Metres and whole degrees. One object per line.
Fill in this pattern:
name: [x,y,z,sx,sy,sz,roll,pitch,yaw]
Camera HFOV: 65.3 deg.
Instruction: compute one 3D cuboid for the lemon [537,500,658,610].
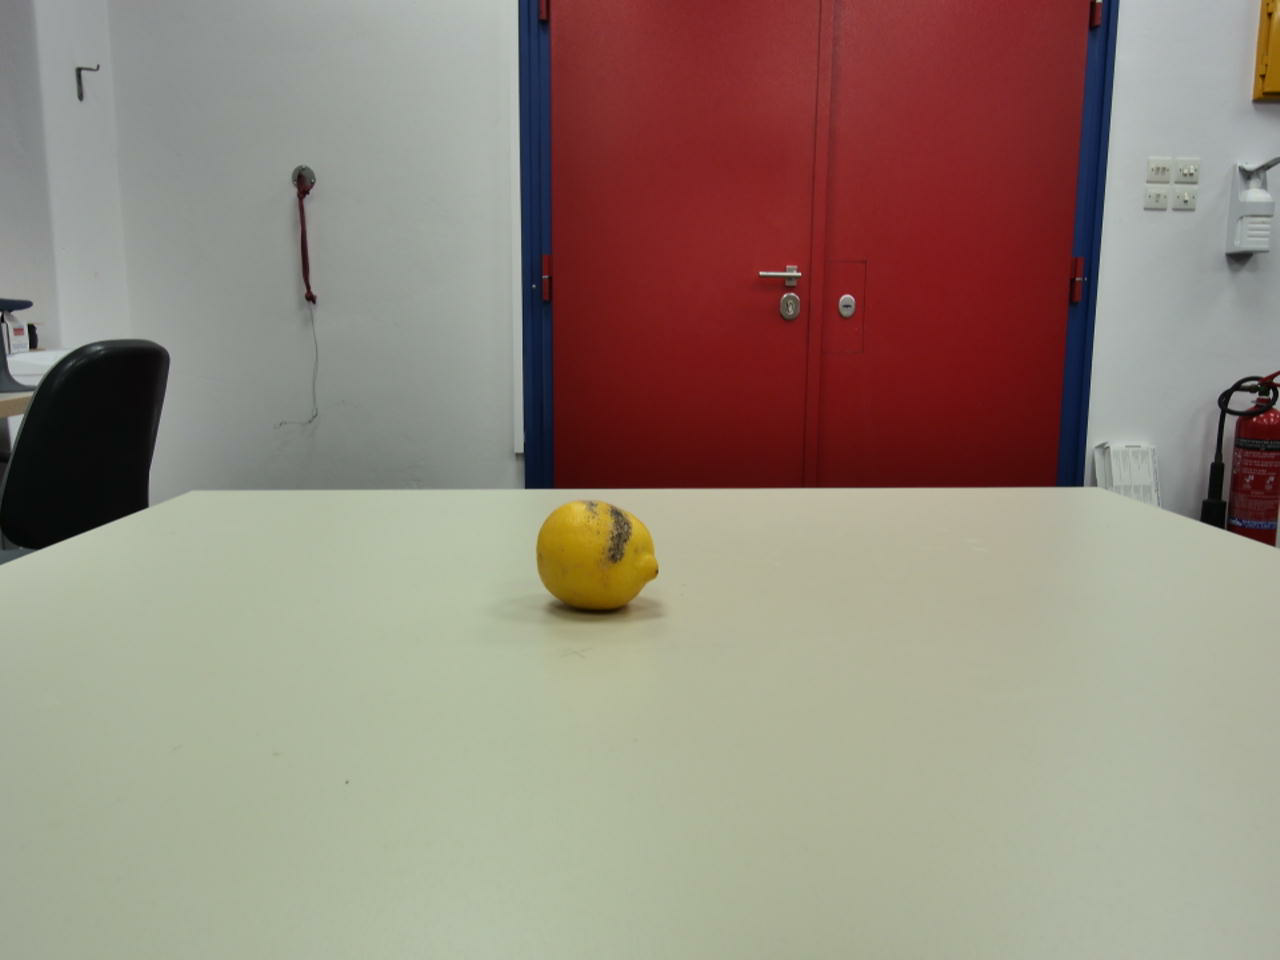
lemon: [-0.023,0.039,0.521,0.061,0.056,0.058,0,7,-8]
